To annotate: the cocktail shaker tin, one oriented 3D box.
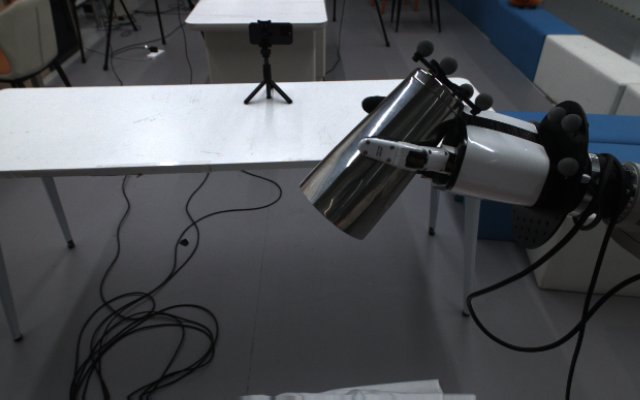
[{"bbox_3d":[0.070,-0.055,0.512,0.093,0.170,0.093,41,12,-11],"label":"cocktail shaker tin"}]
